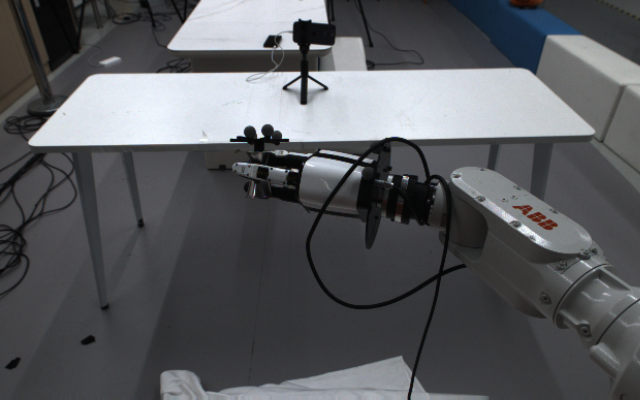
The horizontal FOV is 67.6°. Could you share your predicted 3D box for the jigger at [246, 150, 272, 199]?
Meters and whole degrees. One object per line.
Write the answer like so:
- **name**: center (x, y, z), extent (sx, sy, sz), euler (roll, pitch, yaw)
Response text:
- **jigger**: center (-0.090, -0.038, 0.723), extent (0.043, 0.071, 0.043), euler (0, 2, 0)
